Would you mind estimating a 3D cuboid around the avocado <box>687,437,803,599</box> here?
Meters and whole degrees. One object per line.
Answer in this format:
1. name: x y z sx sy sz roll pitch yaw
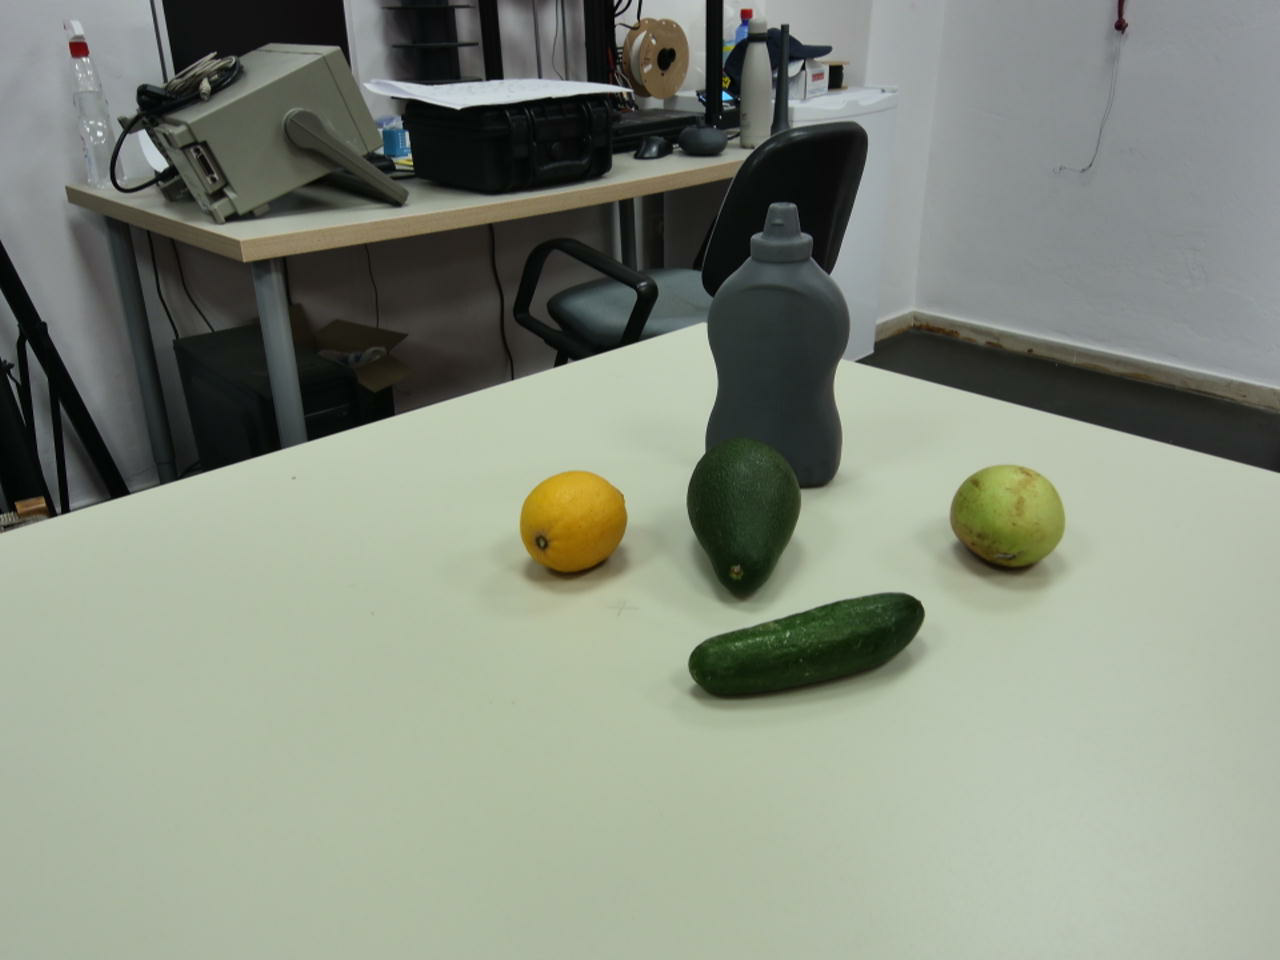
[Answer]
1. avocado: 0.058 0.017 0.607 0.073 0.071 0.109 11 26 23
